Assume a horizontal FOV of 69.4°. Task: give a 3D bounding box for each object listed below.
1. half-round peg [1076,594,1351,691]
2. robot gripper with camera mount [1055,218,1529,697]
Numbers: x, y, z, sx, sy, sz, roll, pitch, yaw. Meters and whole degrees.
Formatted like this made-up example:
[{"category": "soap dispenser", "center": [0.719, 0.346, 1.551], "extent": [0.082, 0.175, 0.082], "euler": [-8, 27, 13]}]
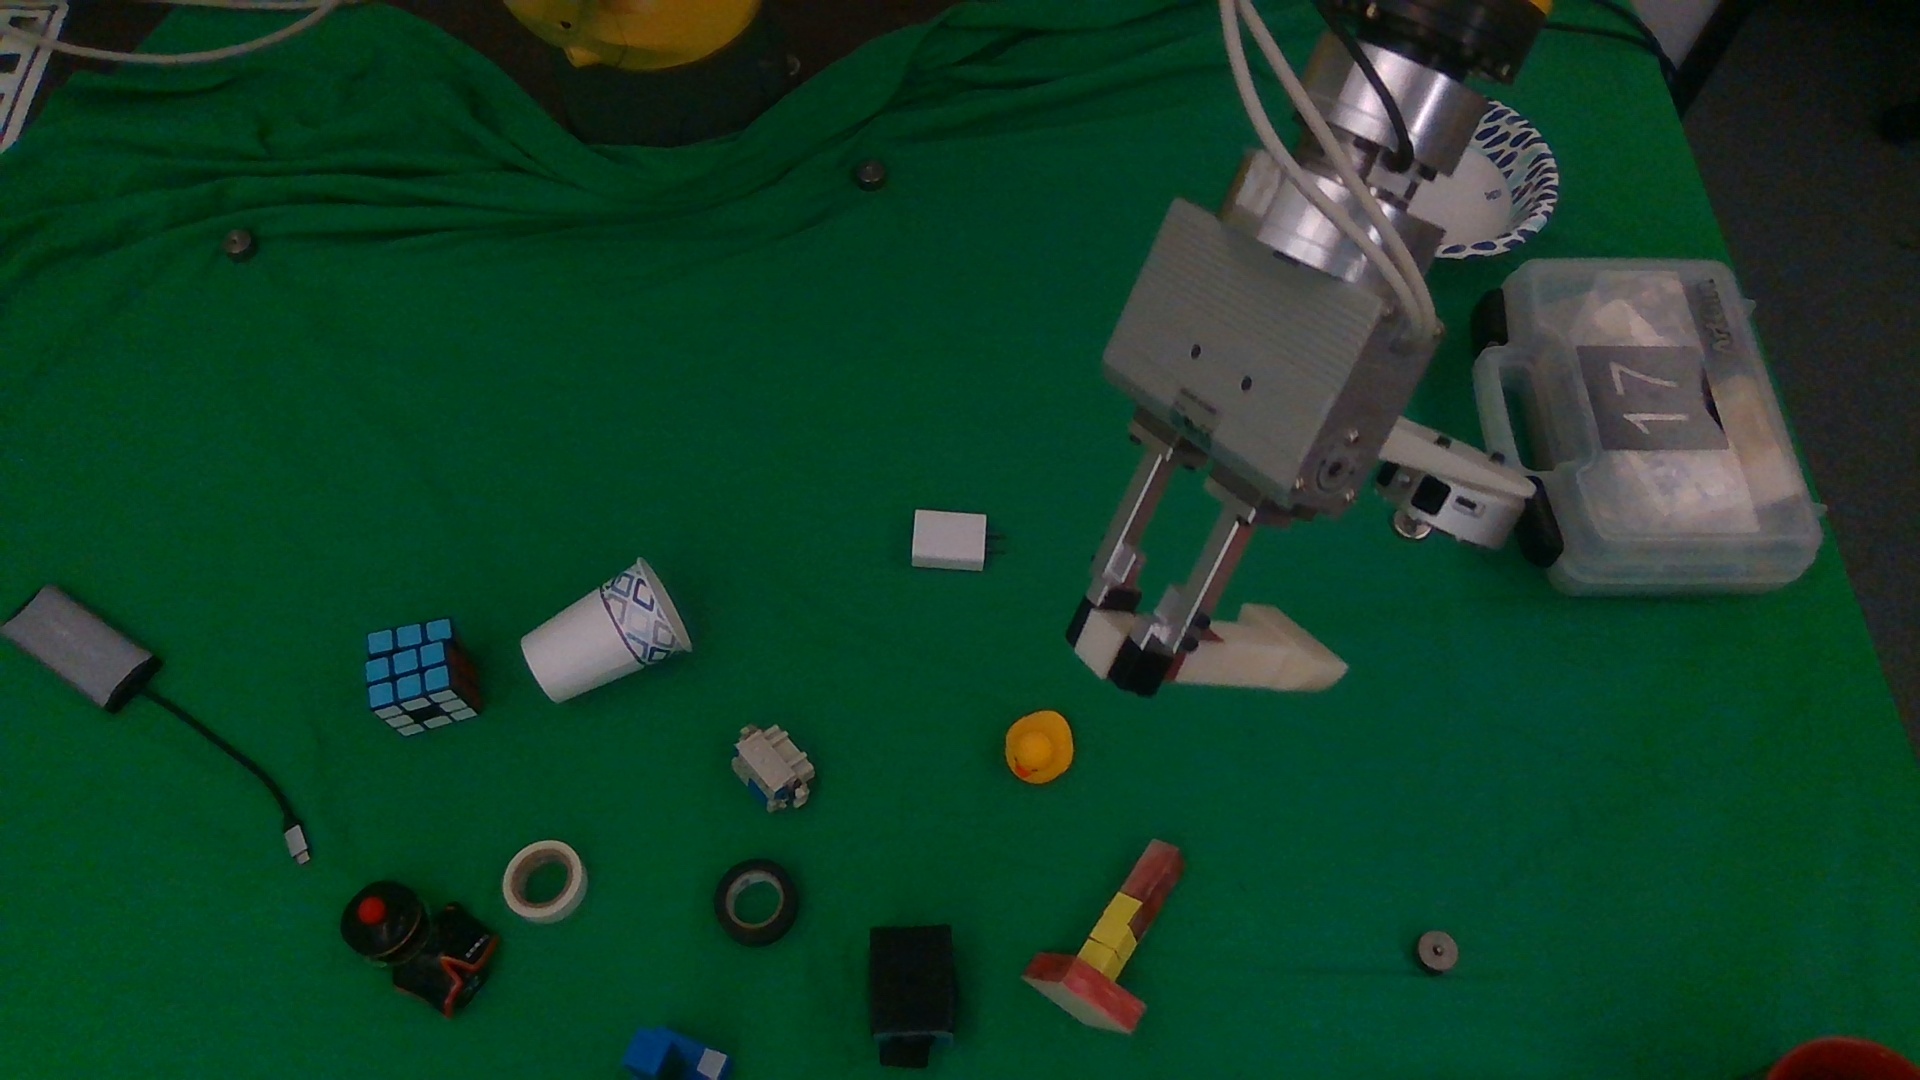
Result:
[{"category": "half-round peg", "center": [0.098, 0.042, 0.561], "extent": [0.121, 0.031, 0.054], "euler": [7, 25, -35]}, {"category": "robot gripper with camera mount", "center": [0.142, -0.012, 0.561], "extent": [0.192, 0.159, 0.119], "euler": [10, 23, -38]}]
